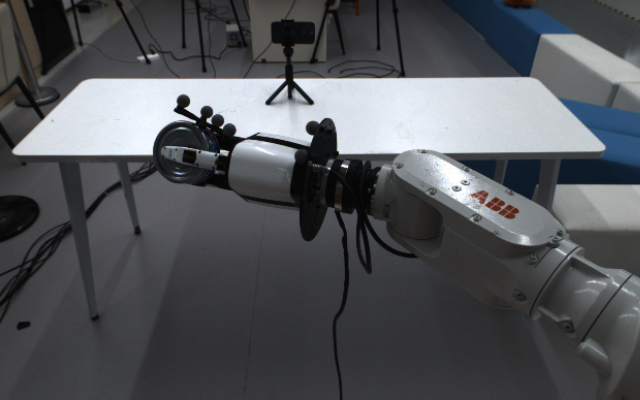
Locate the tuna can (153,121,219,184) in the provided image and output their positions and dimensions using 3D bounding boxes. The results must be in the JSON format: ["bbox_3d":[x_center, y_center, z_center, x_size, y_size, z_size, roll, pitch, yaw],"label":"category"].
[{"bbox_3d":[-0.182,-0.064,0.658,0.085,0.085,0.034,12,4,14],"label":"tuna can"}]
